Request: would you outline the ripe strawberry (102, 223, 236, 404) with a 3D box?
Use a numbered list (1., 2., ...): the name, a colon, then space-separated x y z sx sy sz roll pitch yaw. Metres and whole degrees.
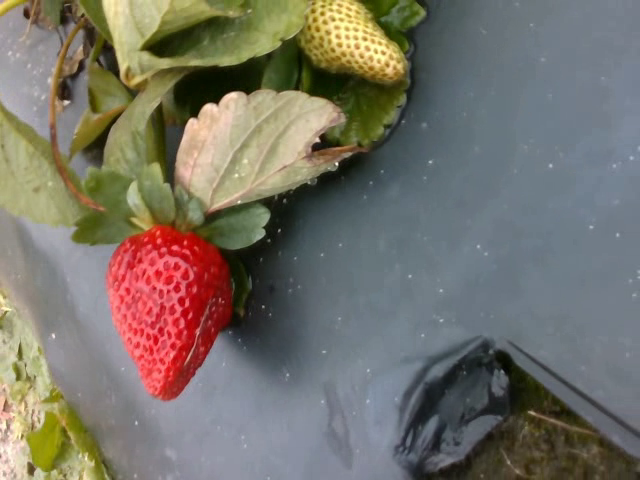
1. ripe strawberry: -0.050 0.024 0.200 0.048 0.064 0.046 -2 -28 3
